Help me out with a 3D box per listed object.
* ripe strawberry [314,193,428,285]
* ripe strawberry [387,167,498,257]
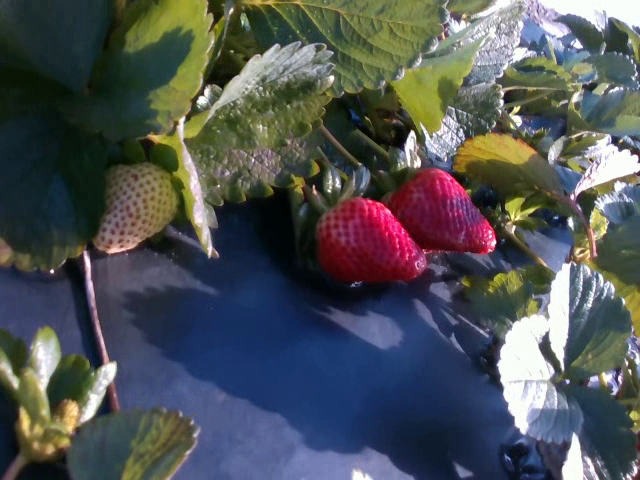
[{"bbox_3d":[0.022,0.004,0.226,0.051,0.043,0.037,30,-24,16],"label":"ripe strawberry"},{"bbox_3d":[0.059,-0.009,0.267,0.057,0.052,0.046,34,-30,21],"label":"ripe strawberry"}]
